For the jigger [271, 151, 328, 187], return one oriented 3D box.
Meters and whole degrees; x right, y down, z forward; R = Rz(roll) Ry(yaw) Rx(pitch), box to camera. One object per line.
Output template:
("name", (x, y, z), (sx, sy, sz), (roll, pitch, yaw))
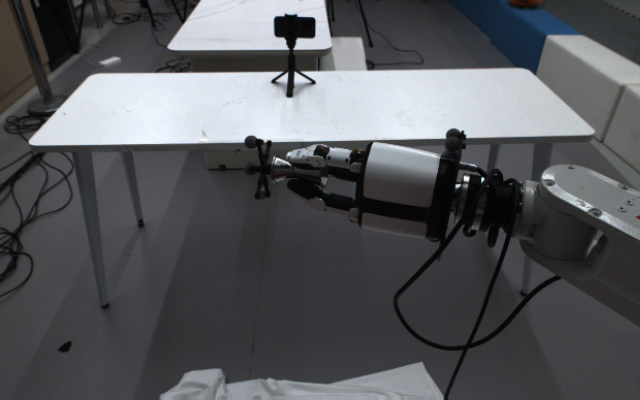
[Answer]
("jigger", (-0.019, -0.042, 0.641), (0.071, 0.043, 0.043), (3, 34, 13))
